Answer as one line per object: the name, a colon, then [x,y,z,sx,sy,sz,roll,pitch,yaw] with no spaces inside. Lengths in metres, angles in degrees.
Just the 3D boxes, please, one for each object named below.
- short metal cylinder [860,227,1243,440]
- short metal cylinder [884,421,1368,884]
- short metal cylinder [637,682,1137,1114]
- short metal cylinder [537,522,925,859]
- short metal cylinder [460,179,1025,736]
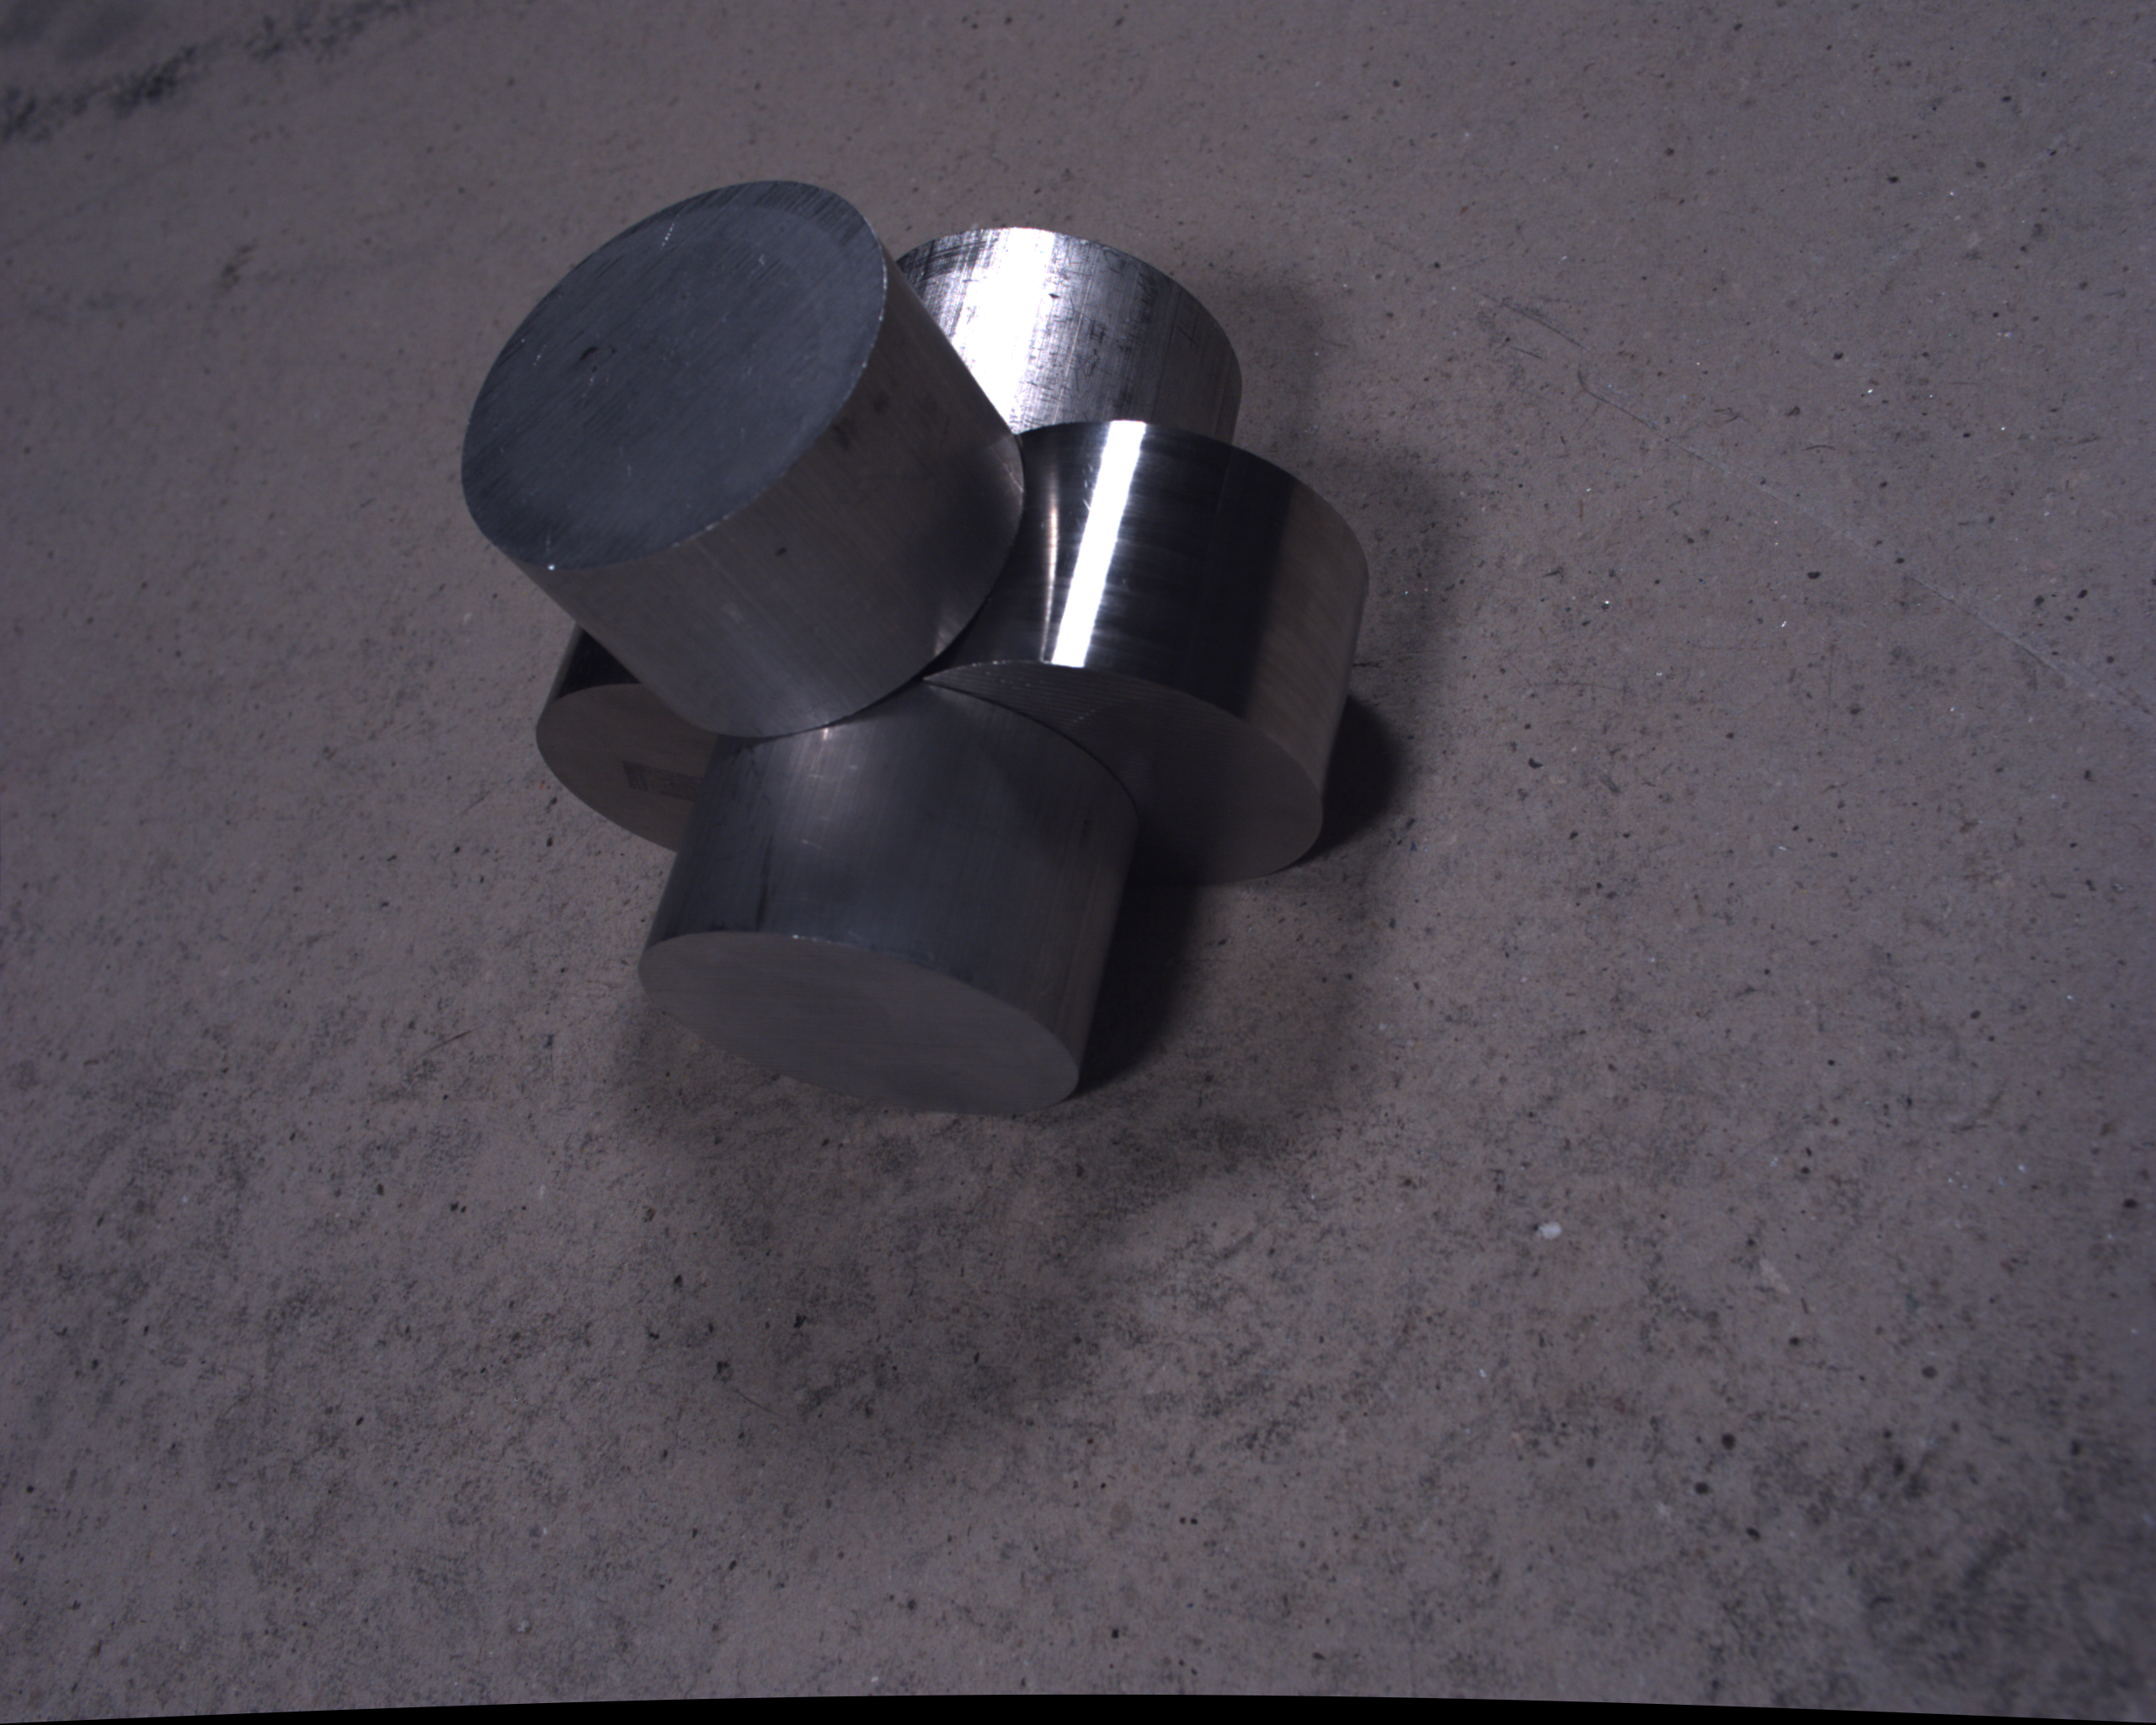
short metal cylinder: [-0.010,-0.082,0.424,0.080,0.080,0.050,-2,61,27]
short metal cylinder: [0.010,-0.036,0.386,0.080,0.080,0.050,0,62,28]
short metal cylinder: [-0.034,0.008,0.381,0.080,0.080,0.050,0,62,28]
short metal cylinder: [-0.062,-0.036,0.423,0.080,0.080,0.050,-1,62,27]
short metal cylinder: [-0.056,-0.069,0.356,0.080,0.050,0.080,-13,56,20]
